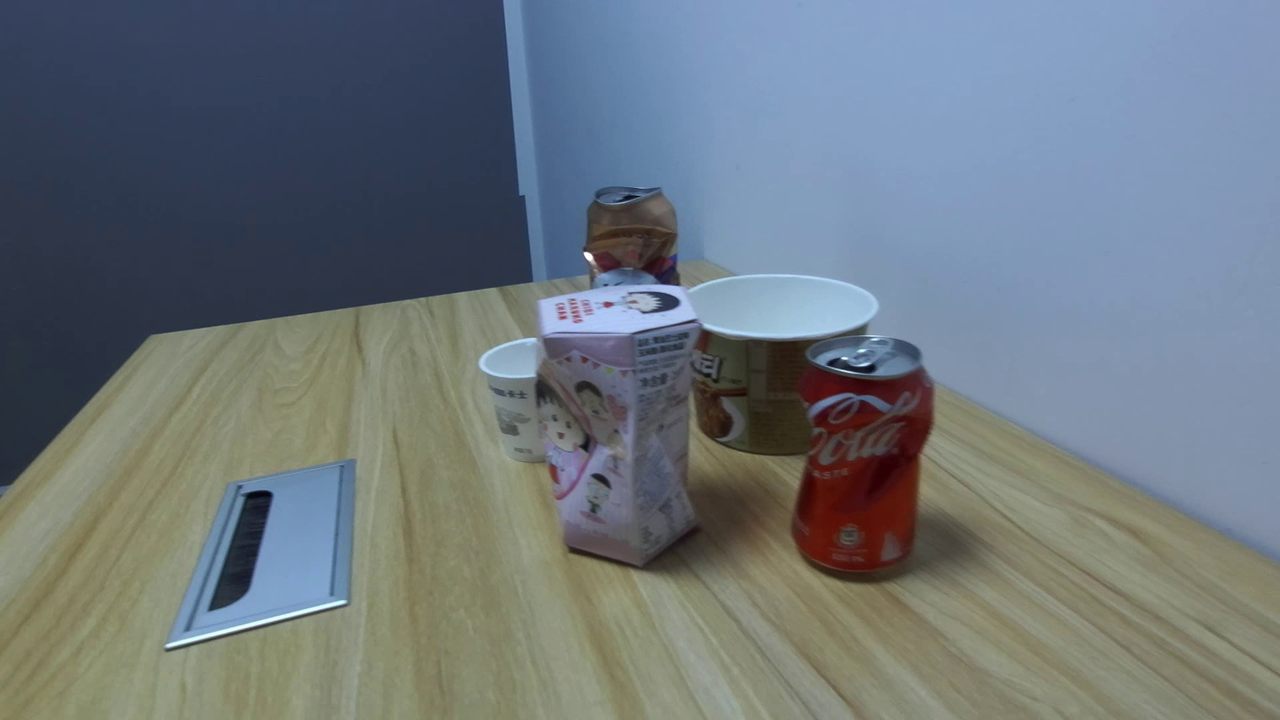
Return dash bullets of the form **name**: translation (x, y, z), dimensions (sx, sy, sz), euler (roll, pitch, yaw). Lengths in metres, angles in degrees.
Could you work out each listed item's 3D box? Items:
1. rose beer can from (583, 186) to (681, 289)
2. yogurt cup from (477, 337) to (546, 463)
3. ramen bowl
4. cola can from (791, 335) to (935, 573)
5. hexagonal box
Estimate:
- **rose beer can**: translation (-0.003, -0.056, 0.566), dimensions (0.074, 0.162, 0.068), euler (-7, 21, -5)
- **yogurt cup**: translation (-0.071, 0.028, 0.490), dimensions (0.072, 0.068, 0.072), euler (-2, 23, 1)
- **ramen bowl**: translation (0.095, 0.002, 0.505), dimensions (0.140, 0.095, 0.140), euler (-1, 22, 1)
- **cola can**: translation (0.112, 0.047, 0.362), dimensions (0.066, 0.117, 0.066), euler (1, 23, 8)
- **hexagonal box**: translation (-0.010, 0.032, 0.392), dimensions (0.088, 0.135, 0.093), euler (19, 31, 42)
